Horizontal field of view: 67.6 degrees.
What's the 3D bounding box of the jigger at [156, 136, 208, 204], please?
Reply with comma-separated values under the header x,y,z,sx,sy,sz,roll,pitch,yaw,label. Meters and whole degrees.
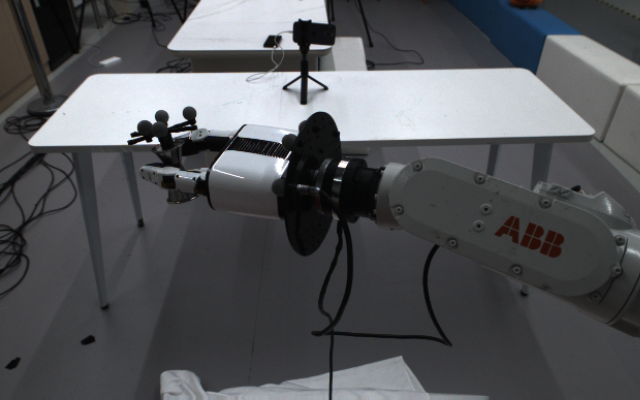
x,y,z,sx,sy,sz,roll,pitch,yaw,label
-0.173,-0.036,0.595,0.043,0.071,0.043,-10,24,4,jigger
